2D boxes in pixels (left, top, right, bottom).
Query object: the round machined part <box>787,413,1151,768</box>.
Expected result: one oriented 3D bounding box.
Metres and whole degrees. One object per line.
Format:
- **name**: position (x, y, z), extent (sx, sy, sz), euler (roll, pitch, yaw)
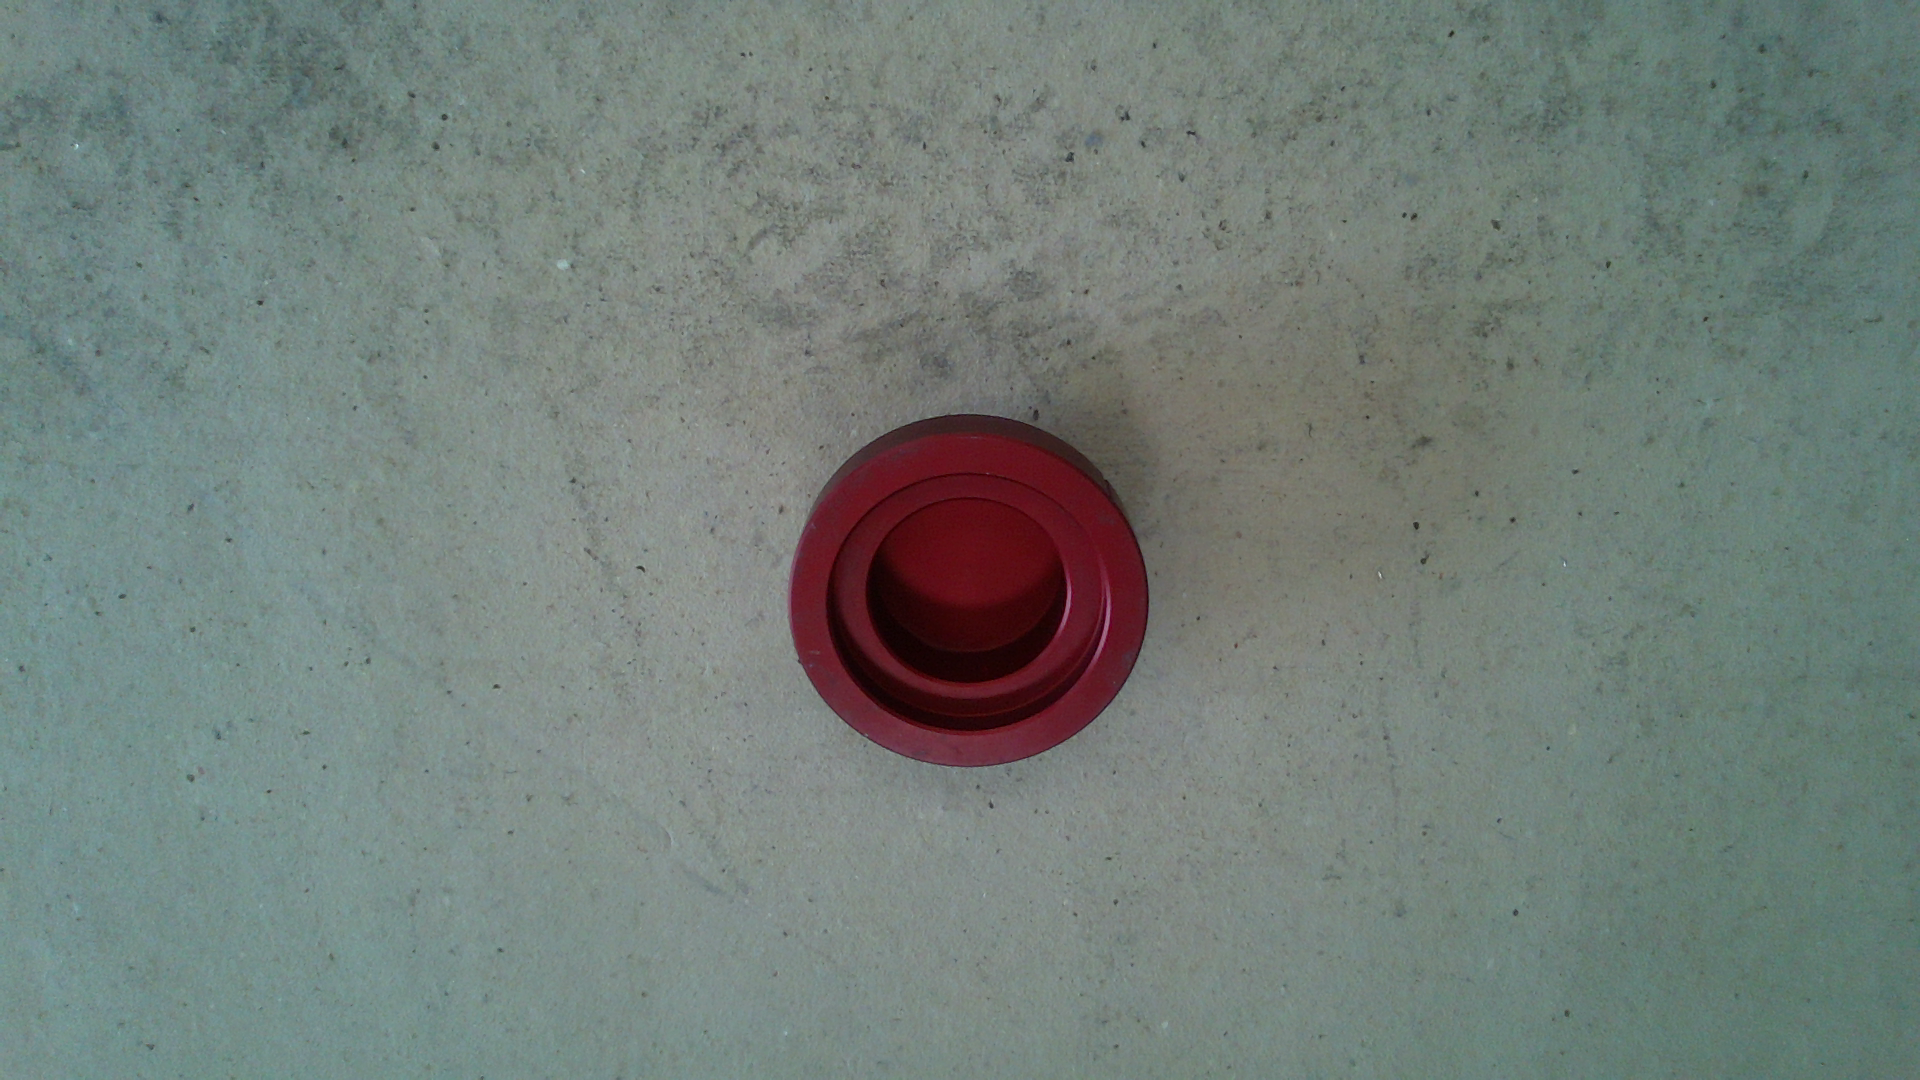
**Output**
- **round machined part**: position (0.002, 0.011, 0.389), extent (0.098, 0.042, 0.098), euler (0, 110, 0)
